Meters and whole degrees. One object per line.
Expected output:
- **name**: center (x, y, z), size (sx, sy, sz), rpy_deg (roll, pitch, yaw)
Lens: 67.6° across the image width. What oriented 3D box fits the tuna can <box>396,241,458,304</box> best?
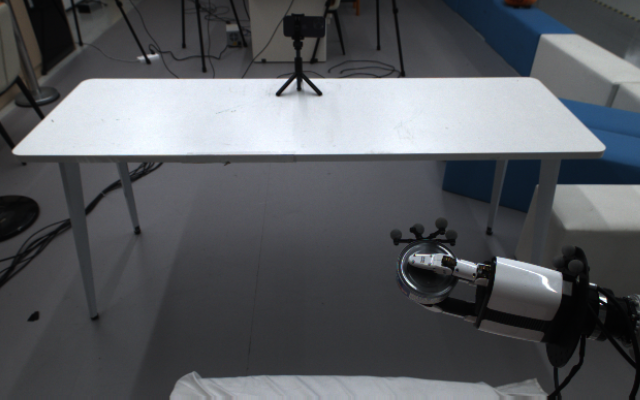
- **tuna can**: center (0.151, 0.100, 0.677), size (0.085, 0.034, 0.085), rpy_deg (-2, 58, 3)
